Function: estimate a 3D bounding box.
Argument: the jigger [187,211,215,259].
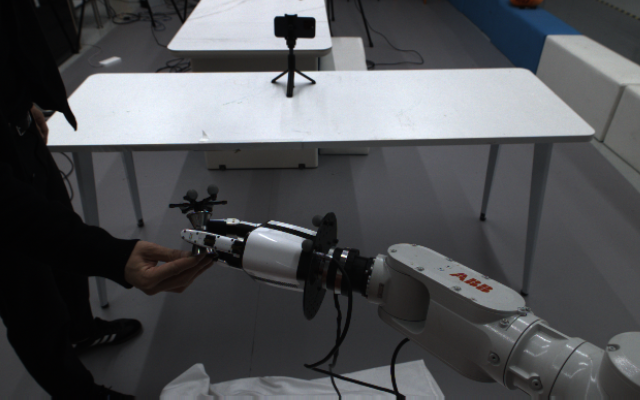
[{"bbox_3d":[-0.184,0.055,0.751,0.043,0.043,0.071,-6,75,-12],"label":"jigger"}]
